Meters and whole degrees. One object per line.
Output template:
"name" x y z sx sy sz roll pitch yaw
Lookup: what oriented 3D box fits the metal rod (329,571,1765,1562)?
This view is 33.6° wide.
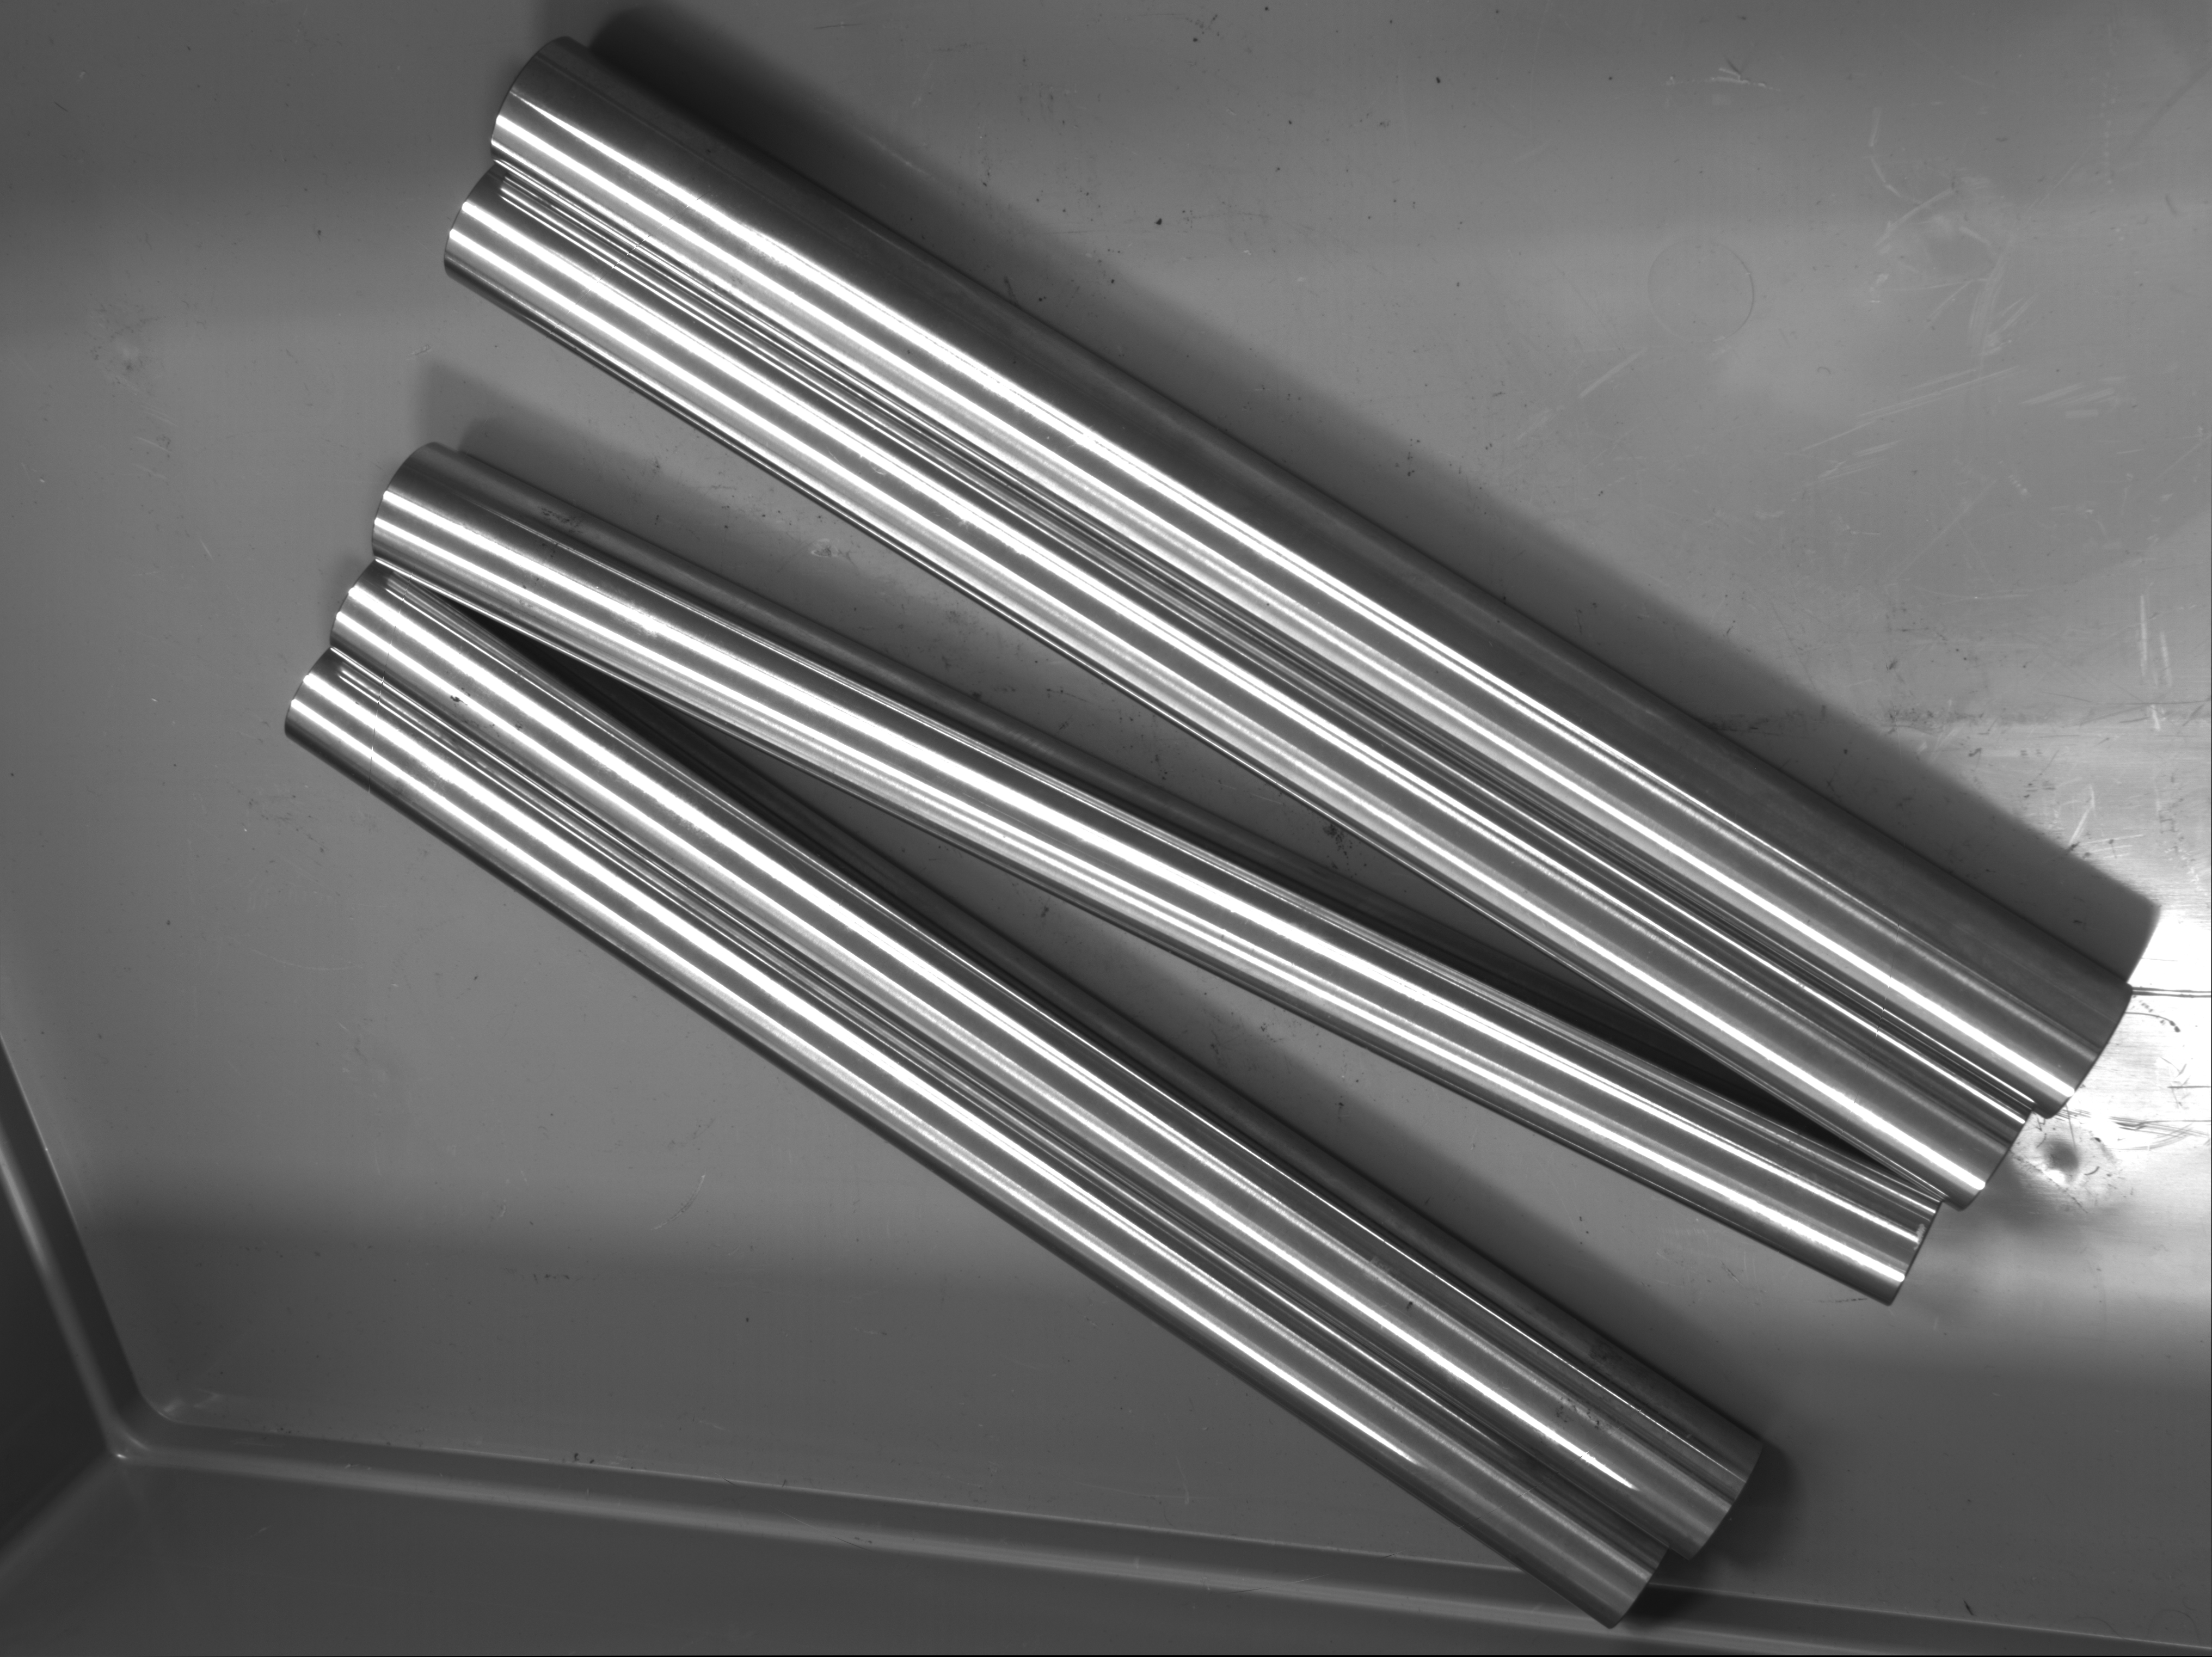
"metal rod" -0.014 0.039 0.672 0.300 0.025 0.025 33 129 6

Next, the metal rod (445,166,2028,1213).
"metal rod" 0.019 -0.027 0.614 0.300 0.025 0.025 32 129 7

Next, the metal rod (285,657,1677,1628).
"metal rod" -0.025 0.054 0.688 0.300 0.025 0.025 33 129 6

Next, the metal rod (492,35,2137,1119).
"metal rod" 0.030 -0.044 0.599 0.300 0.025 0.025 32 129 7

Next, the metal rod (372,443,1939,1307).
"metal rod" 0.004 0.005 0.642 0.300 0.025 0.025 26 127 12
